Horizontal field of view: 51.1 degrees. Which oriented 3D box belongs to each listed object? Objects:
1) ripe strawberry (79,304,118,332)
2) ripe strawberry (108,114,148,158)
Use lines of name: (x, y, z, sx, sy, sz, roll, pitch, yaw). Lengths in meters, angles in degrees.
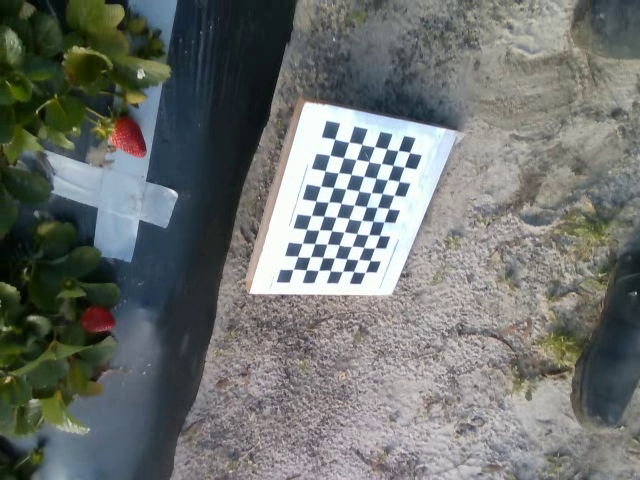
ripe strawberry: (-0.141, 0.048, 0.410, 0.022, 0.018, 0.021, 17, 42, -6)
ripe strawberry: (-0.107, -0.058, 0.367, 0.023, 0.026, 0.021, -46, 5, 36)
